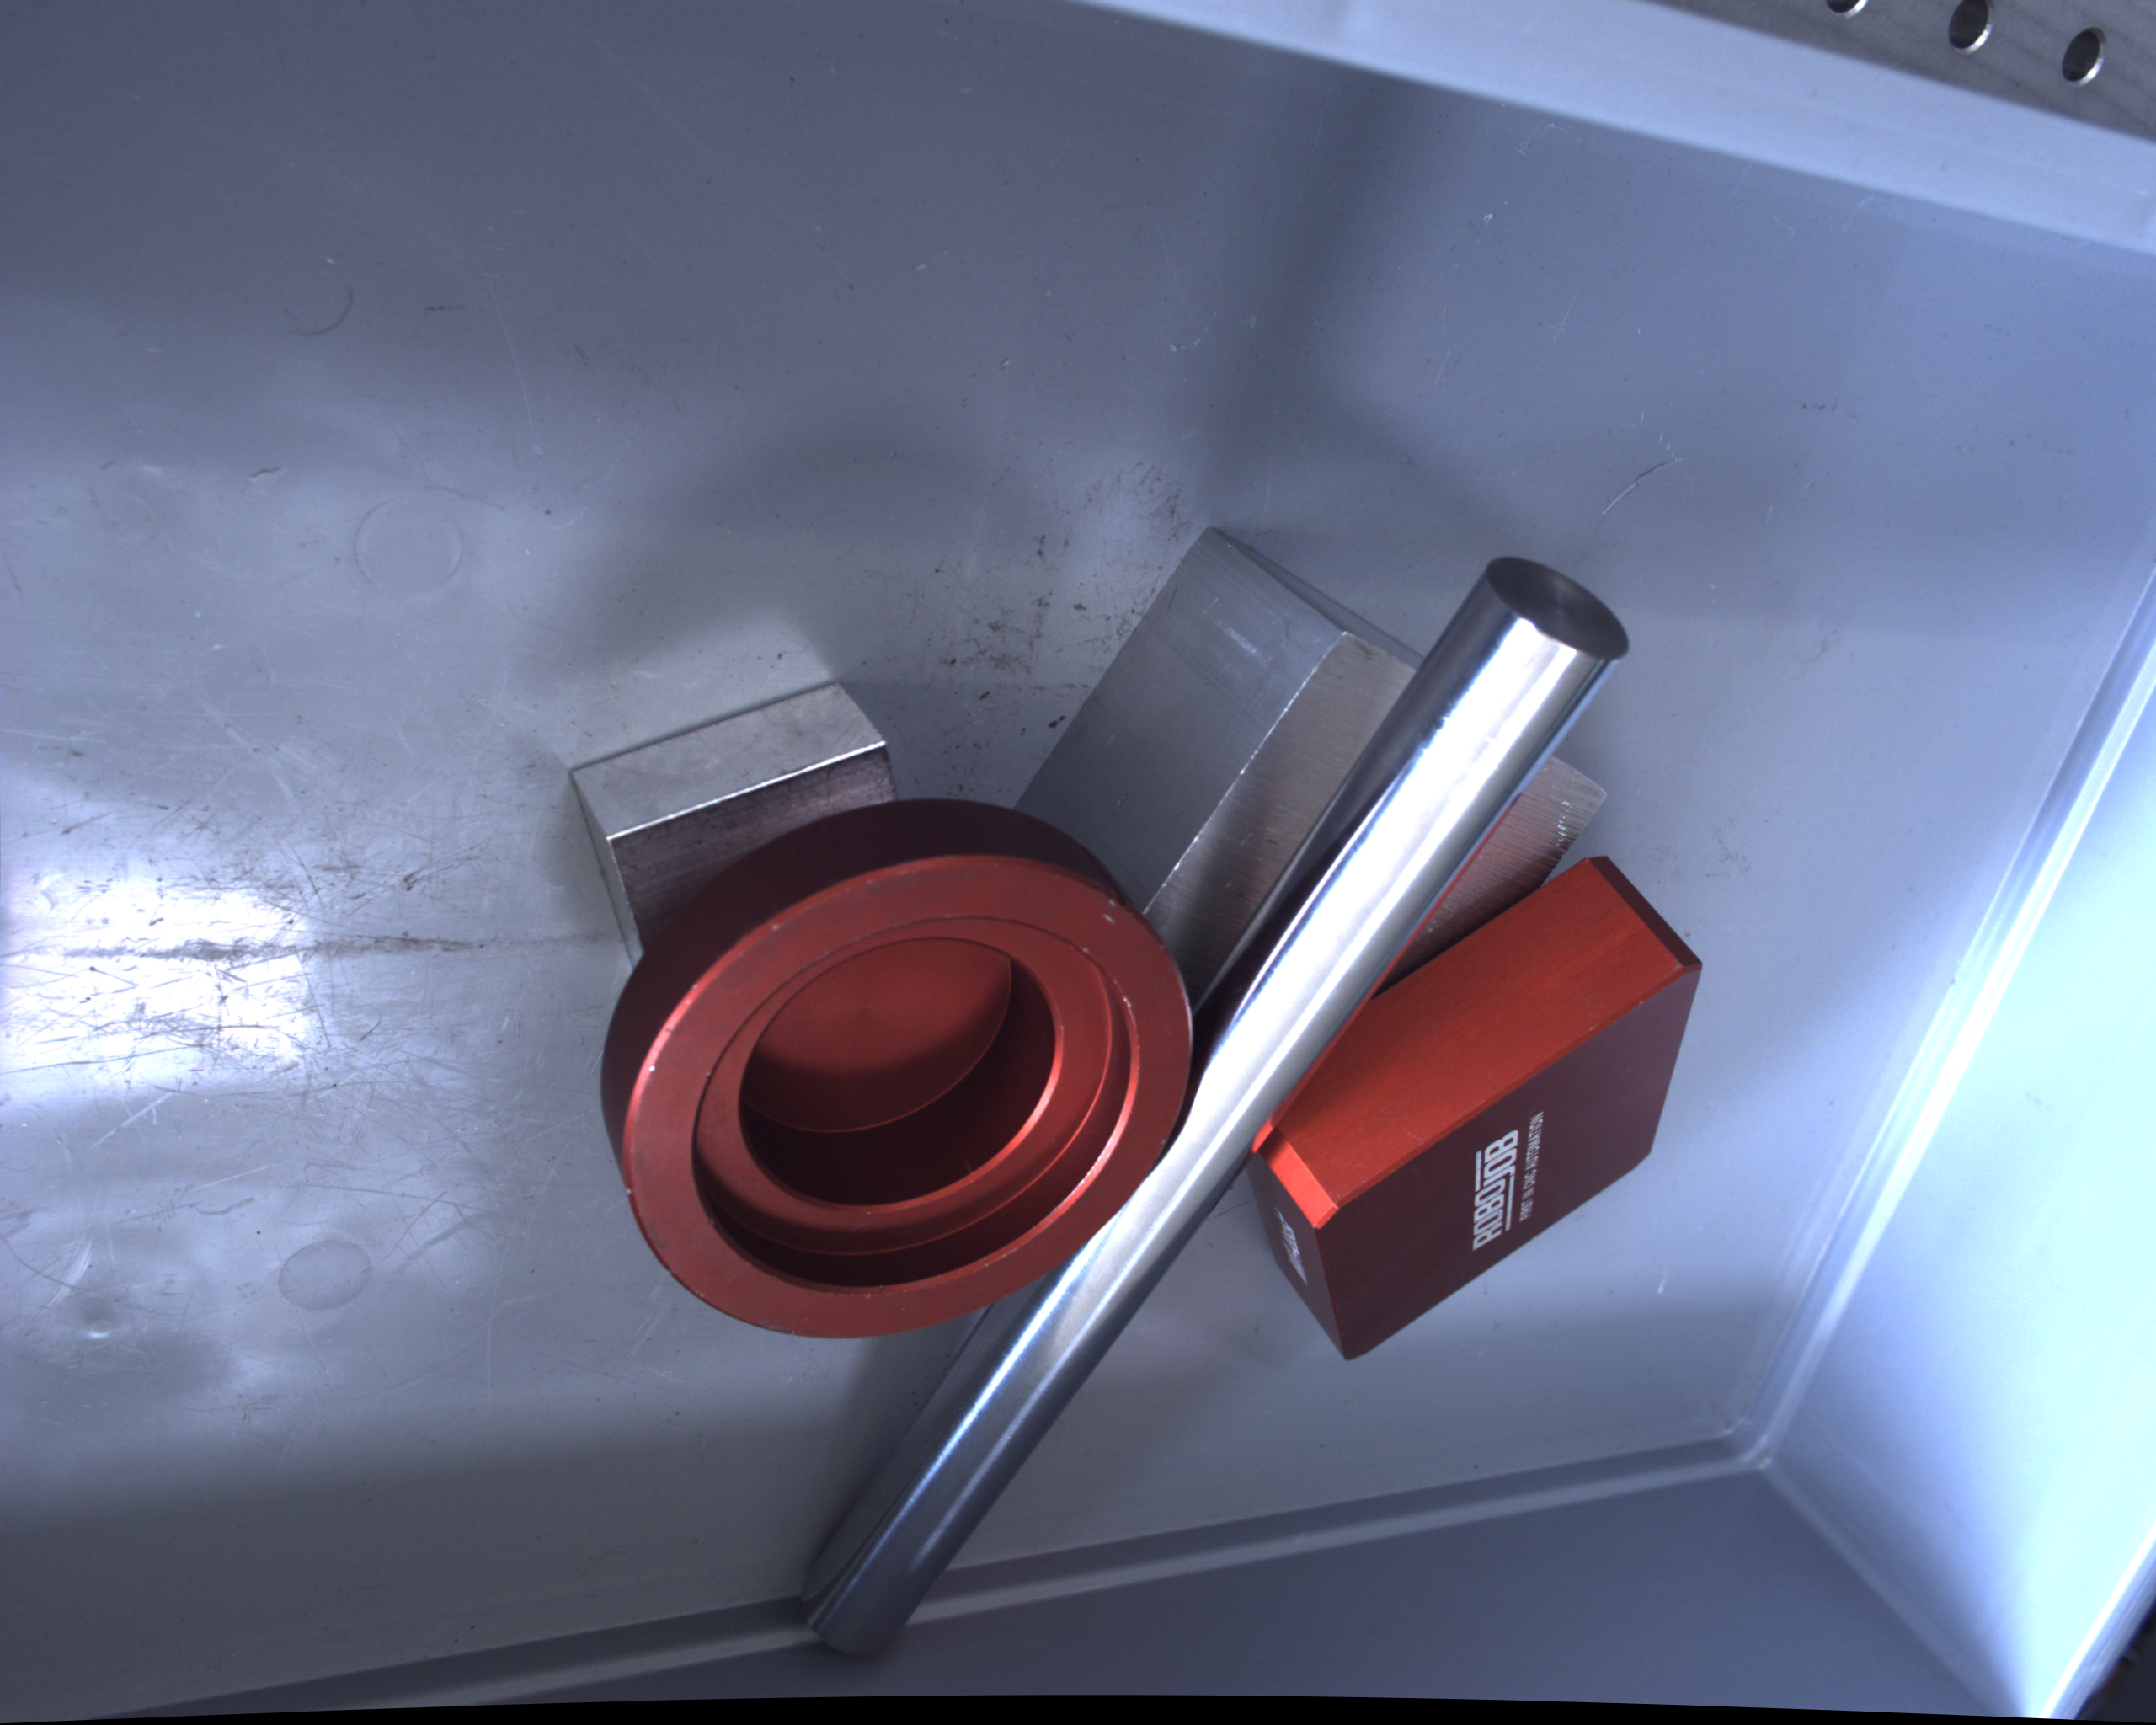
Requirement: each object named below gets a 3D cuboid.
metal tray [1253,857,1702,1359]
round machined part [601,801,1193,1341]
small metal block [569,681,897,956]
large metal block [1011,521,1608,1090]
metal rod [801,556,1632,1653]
[{"bbox_3d":[0.084,0.058,0.453,0.090,0.030,0.130,-33,154,-6],"label":"metal tray"},{"bbox_3d":[-0.033,0.032,0.362,0.099,0.042,0.097,-12,124,-18],"label":"round machined part"},{"bbox_3d":[-0.058,0.001,0.377,0.050,0.025,0.050,-20,126,-17],"label":"small metal block"},{"bbox_3d":[0.041,-0.007,0.409,0.080,0.050,0.080,25,105,-37],"label":"large metal block"},{"bbox_3d":[0.010,0.067,0.402,0.025,0.025,0.298,6,131,-31],"label":"metal rod"}]
